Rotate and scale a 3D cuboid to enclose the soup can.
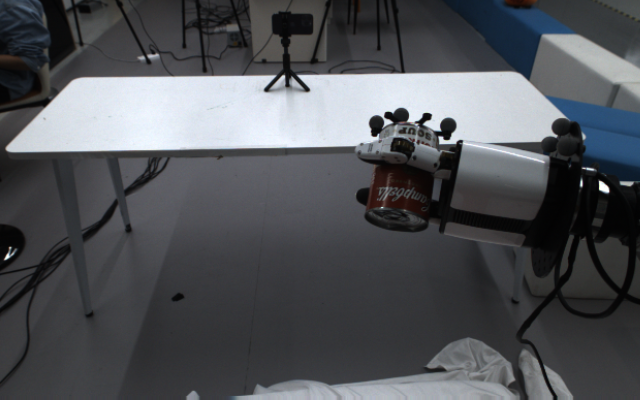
[{"bbox_3d":[0.091,-0.024,0.520,0.067,0.067,0.101,9,70,9],"label":"soup can"}]
